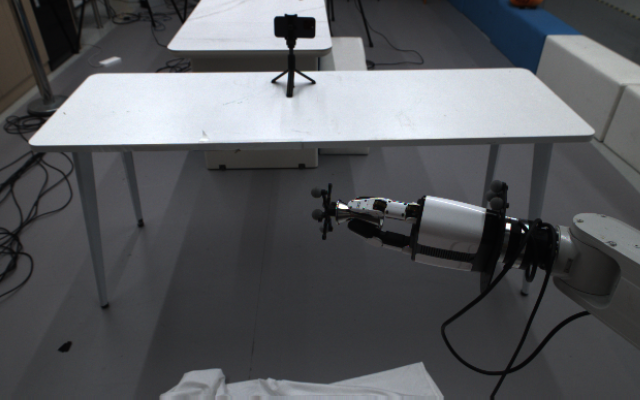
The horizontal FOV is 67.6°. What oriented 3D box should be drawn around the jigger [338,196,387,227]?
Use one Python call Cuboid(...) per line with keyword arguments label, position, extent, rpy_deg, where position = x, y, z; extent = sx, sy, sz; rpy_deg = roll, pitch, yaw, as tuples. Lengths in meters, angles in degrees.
Cuboid(label="jigger", position=(0.067, 0.016, 0.733), extent=(0.071, 0.043, 0.043), rpy_deg=(3, 34, 14))
